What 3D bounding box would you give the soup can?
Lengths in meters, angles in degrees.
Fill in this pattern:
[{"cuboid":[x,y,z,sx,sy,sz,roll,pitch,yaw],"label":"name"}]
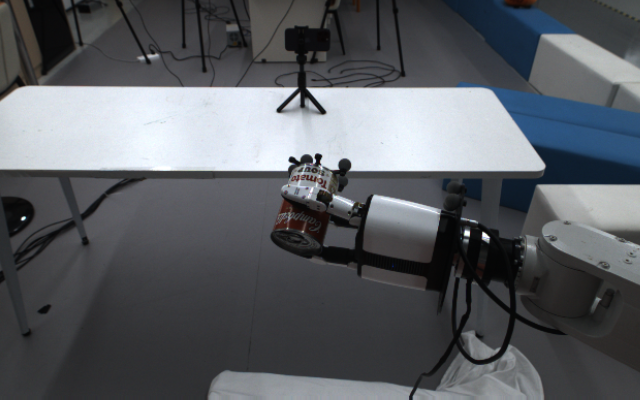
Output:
[{"cuboid":[-0.016,0.011,0.626,0.067,0.067,0.101,9,60,10],"label":"soup can"}]
